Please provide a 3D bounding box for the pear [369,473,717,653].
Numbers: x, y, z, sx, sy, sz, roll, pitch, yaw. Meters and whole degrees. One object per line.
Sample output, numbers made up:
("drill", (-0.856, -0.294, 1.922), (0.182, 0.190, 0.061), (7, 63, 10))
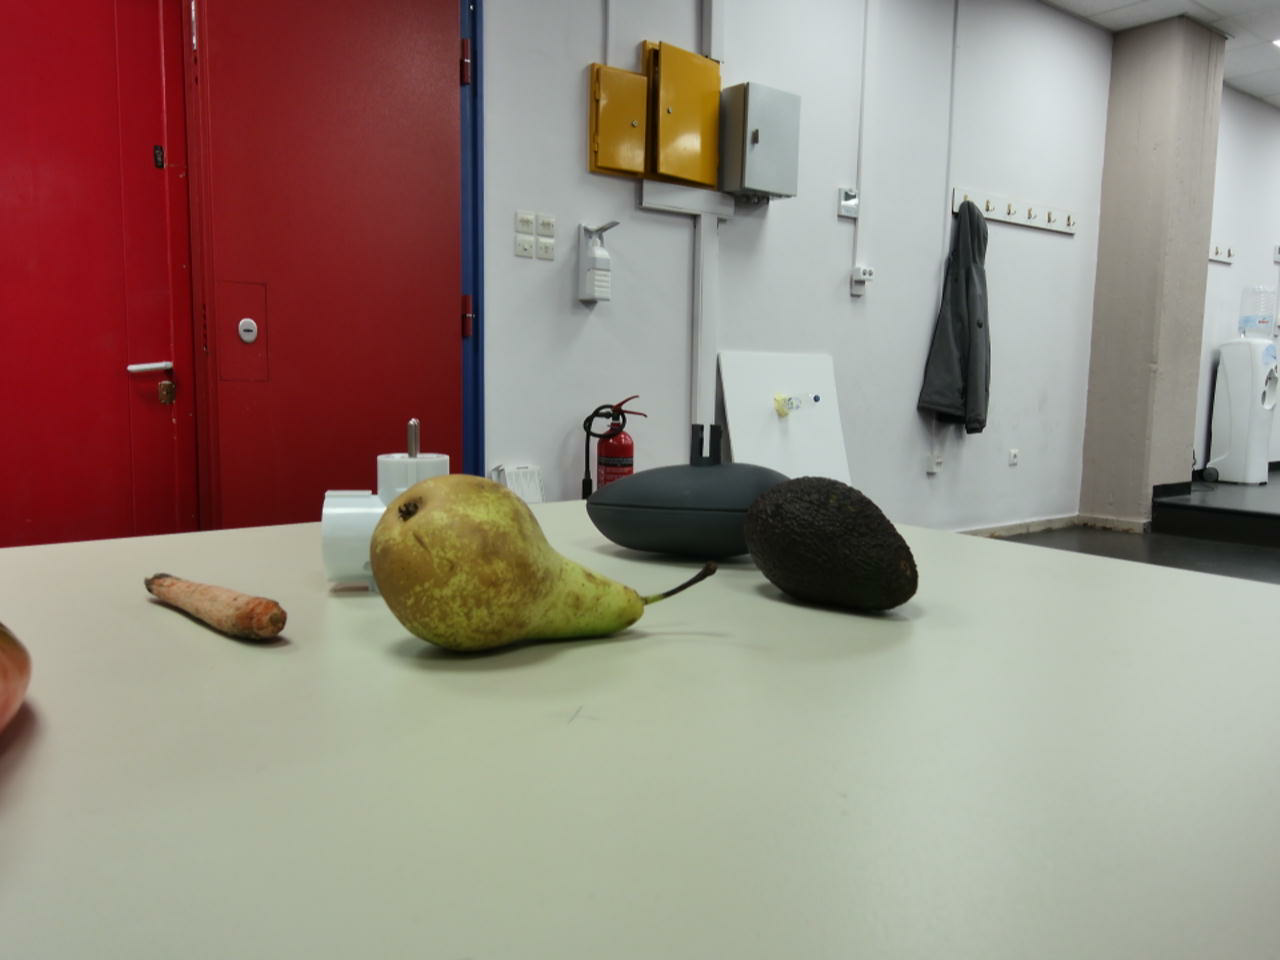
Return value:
("pear", (-0.046, 0.034, 0.441), (0.144, 0.075, 0.072), (-3, 5, -31))
